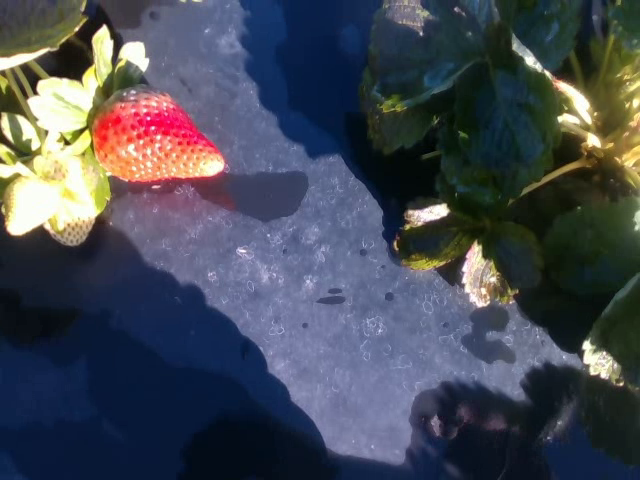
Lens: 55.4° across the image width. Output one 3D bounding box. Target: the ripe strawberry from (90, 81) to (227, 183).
[{"bbox_3d":[-0.066,-0.041,0.257,0.064,0.049,0.052,19,21,8],"label":"ripe strawberry"}]
